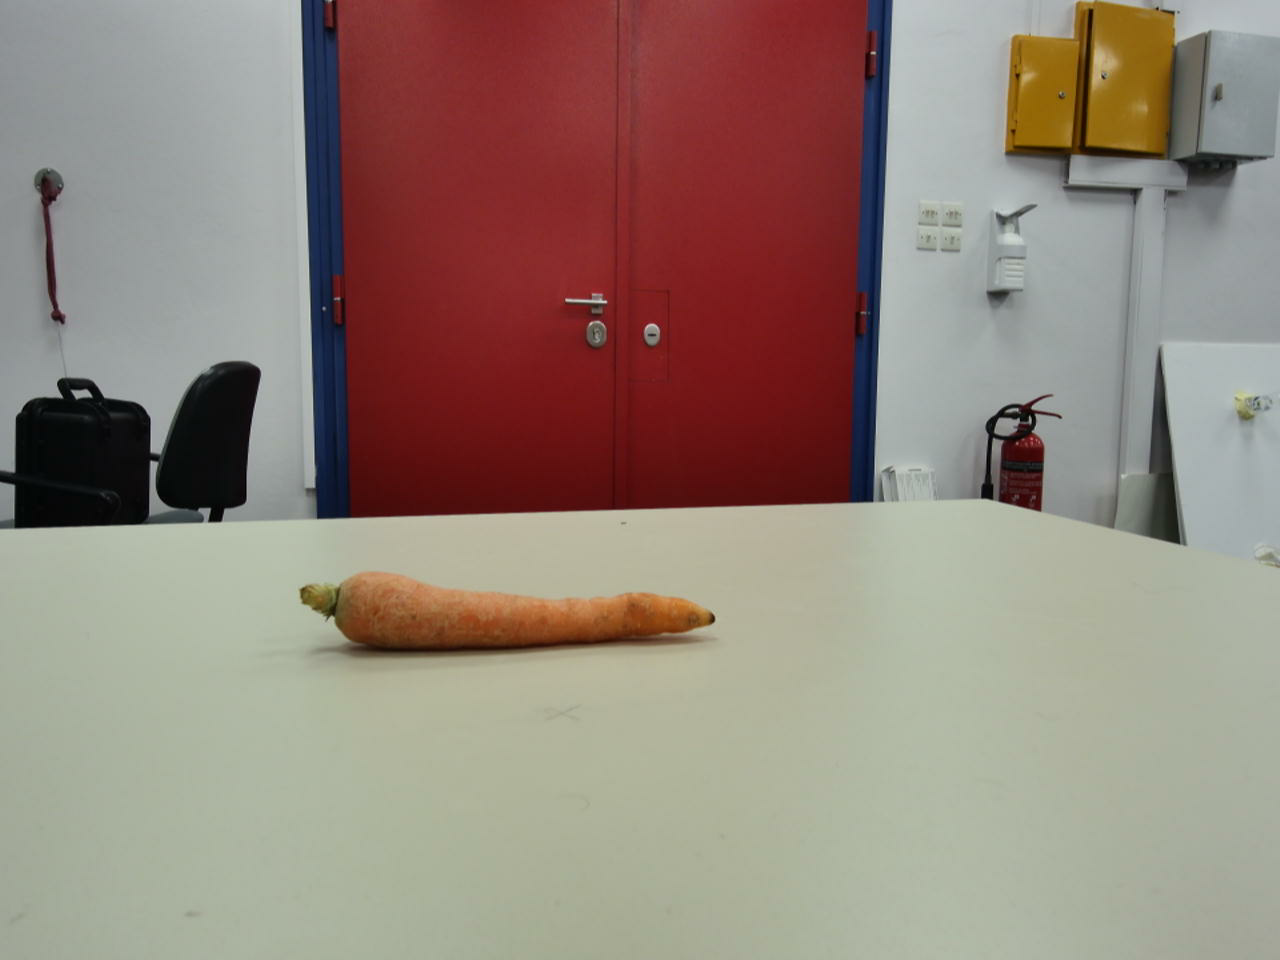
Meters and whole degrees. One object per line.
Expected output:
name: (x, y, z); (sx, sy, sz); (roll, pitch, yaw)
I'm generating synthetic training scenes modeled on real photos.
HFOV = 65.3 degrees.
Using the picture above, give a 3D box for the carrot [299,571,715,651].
carrot: (-0.053, 0.053, 0.418); (0.173, 0.032, 0.030); (0, 4, -4)
